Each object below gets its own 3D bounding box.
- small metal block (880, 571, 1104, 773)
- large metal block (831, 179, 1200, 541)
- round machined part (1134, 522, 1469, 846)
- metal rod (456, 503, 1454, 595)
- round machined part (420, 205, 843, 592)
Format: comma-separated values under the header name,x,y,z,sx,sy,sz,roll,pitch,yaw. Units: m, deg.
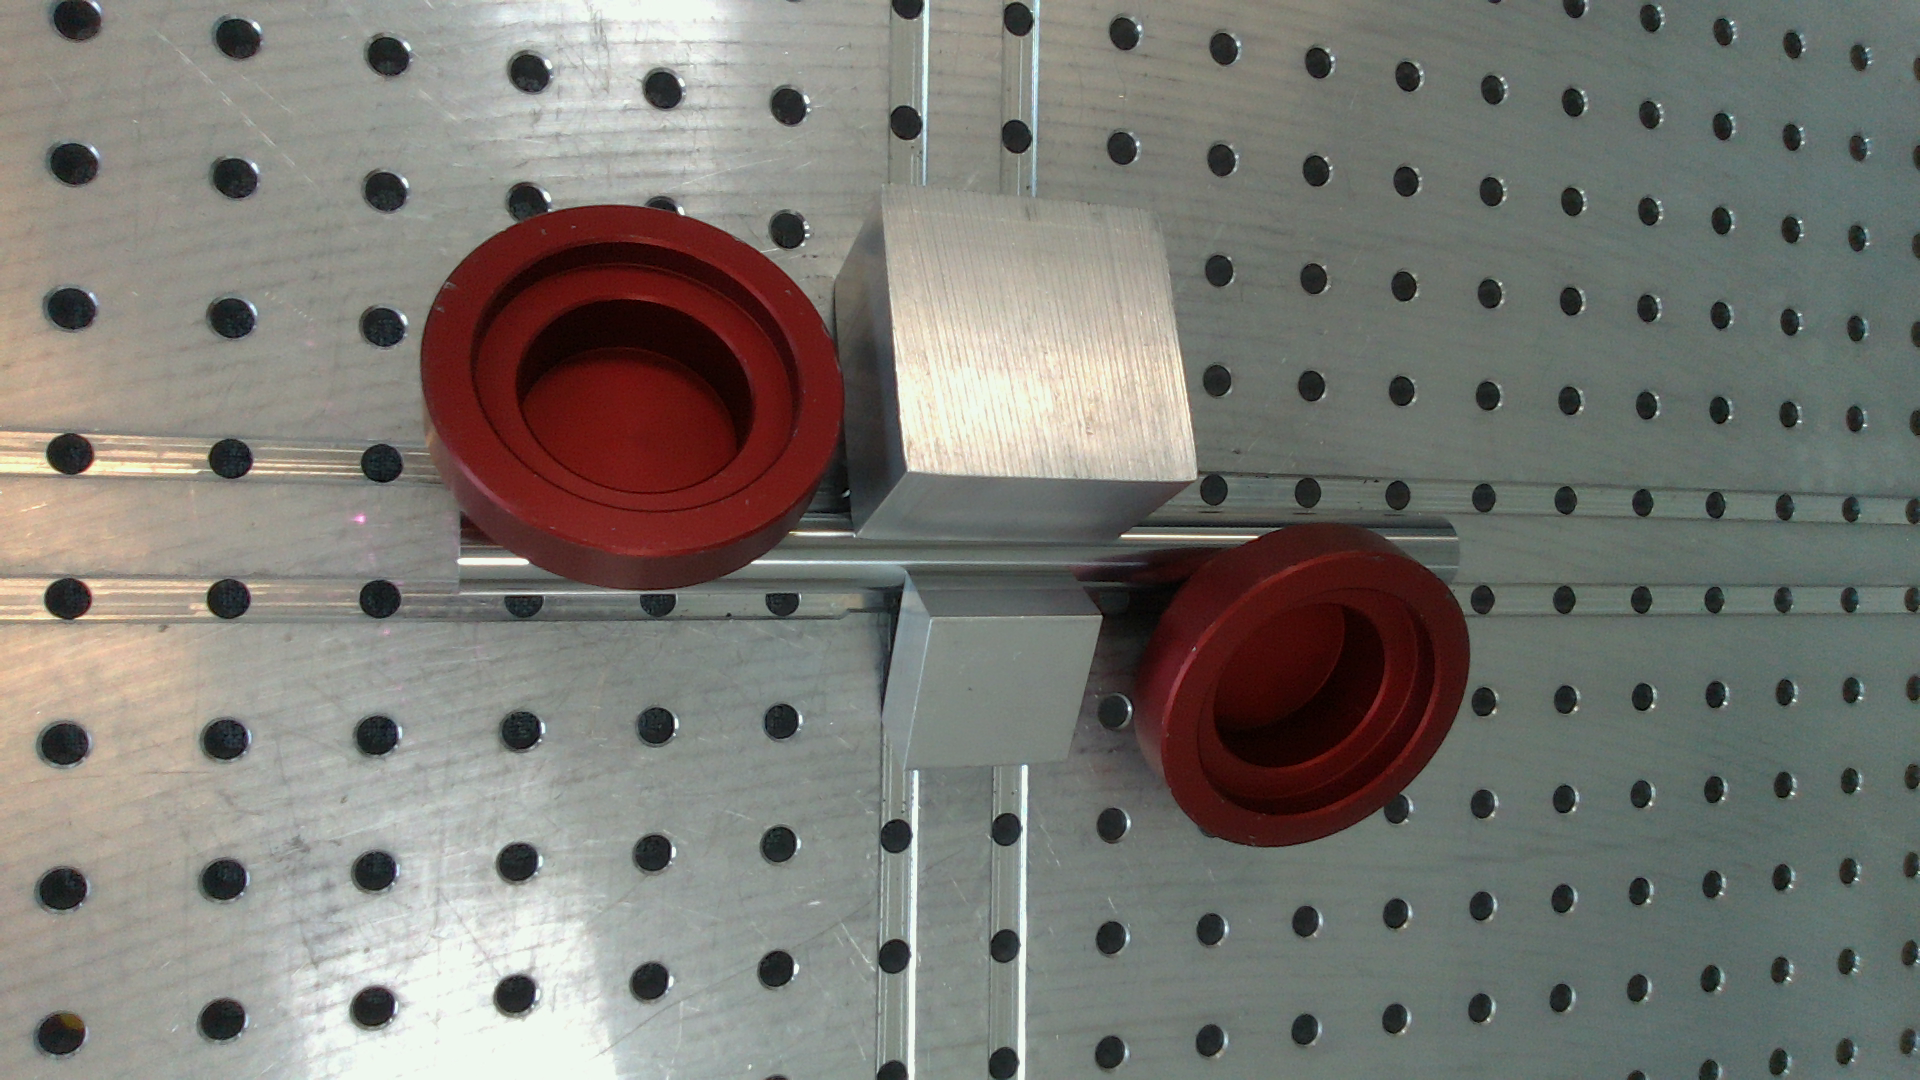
name,x,y,z,sx,sy,sz,roll,pitch,yaw
small metal block,0.008,0.037,0.388,0.050,0.025,0.050,1,118,-20
large metal block,0.012,-0.046,0.375,0.080,0.050,0.080,1,72,-20
round machined part,0.097,0.039,0.409,0.098,0.042,0.098,-8,118,-16
metal rod,0.013,0.003,0.401,0.301,0.025,0.025,0,90,-20
round machined part,-0.082,-0.031,0.343,0.098,0.042,0.098,9,61,-16
